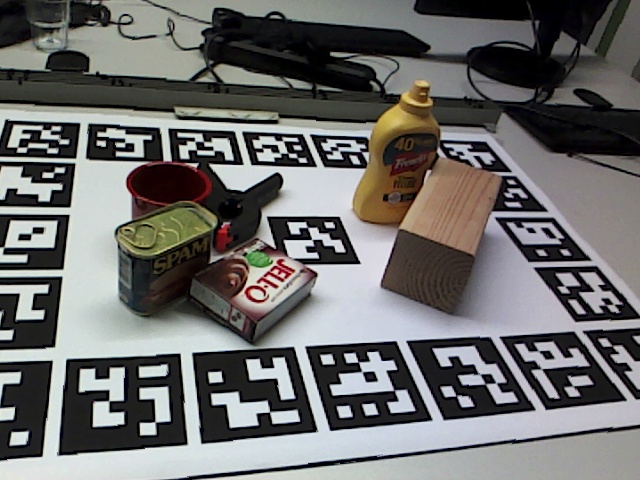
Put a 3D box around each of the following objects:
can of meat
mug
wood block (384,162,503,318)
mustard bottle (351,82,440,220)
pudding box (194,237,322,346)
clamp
[{"bbox_3d":[-0.160,0.019,0.642,0.101,0.083,0.058,-25,52,-40],"label":"can of meat"},{"bbox_3d":[-0.181,-0.027,0.742,0.093,0.081,0.117,13,38,0],"label":"mug"},{"bbox_3d":[0.160,-0.009,0.781,0.090,0.091,0.206,21,35,13],"label":"wood block"},{"bbox_3d":[0.106,-0.116,0.814,0.096,0.191,0.059,-4,41,-21],"label":"mustard bottle"},{"bbox_3d":[-0.067,0.053,0.671,0.090,0.038,0.113,31,39,22],"label":"pudding box"},{"bbox_3d":[-0.113,-0.049,0.799,0.122,0.036,0.165,12,39,-3],"label":"clamp"}]
